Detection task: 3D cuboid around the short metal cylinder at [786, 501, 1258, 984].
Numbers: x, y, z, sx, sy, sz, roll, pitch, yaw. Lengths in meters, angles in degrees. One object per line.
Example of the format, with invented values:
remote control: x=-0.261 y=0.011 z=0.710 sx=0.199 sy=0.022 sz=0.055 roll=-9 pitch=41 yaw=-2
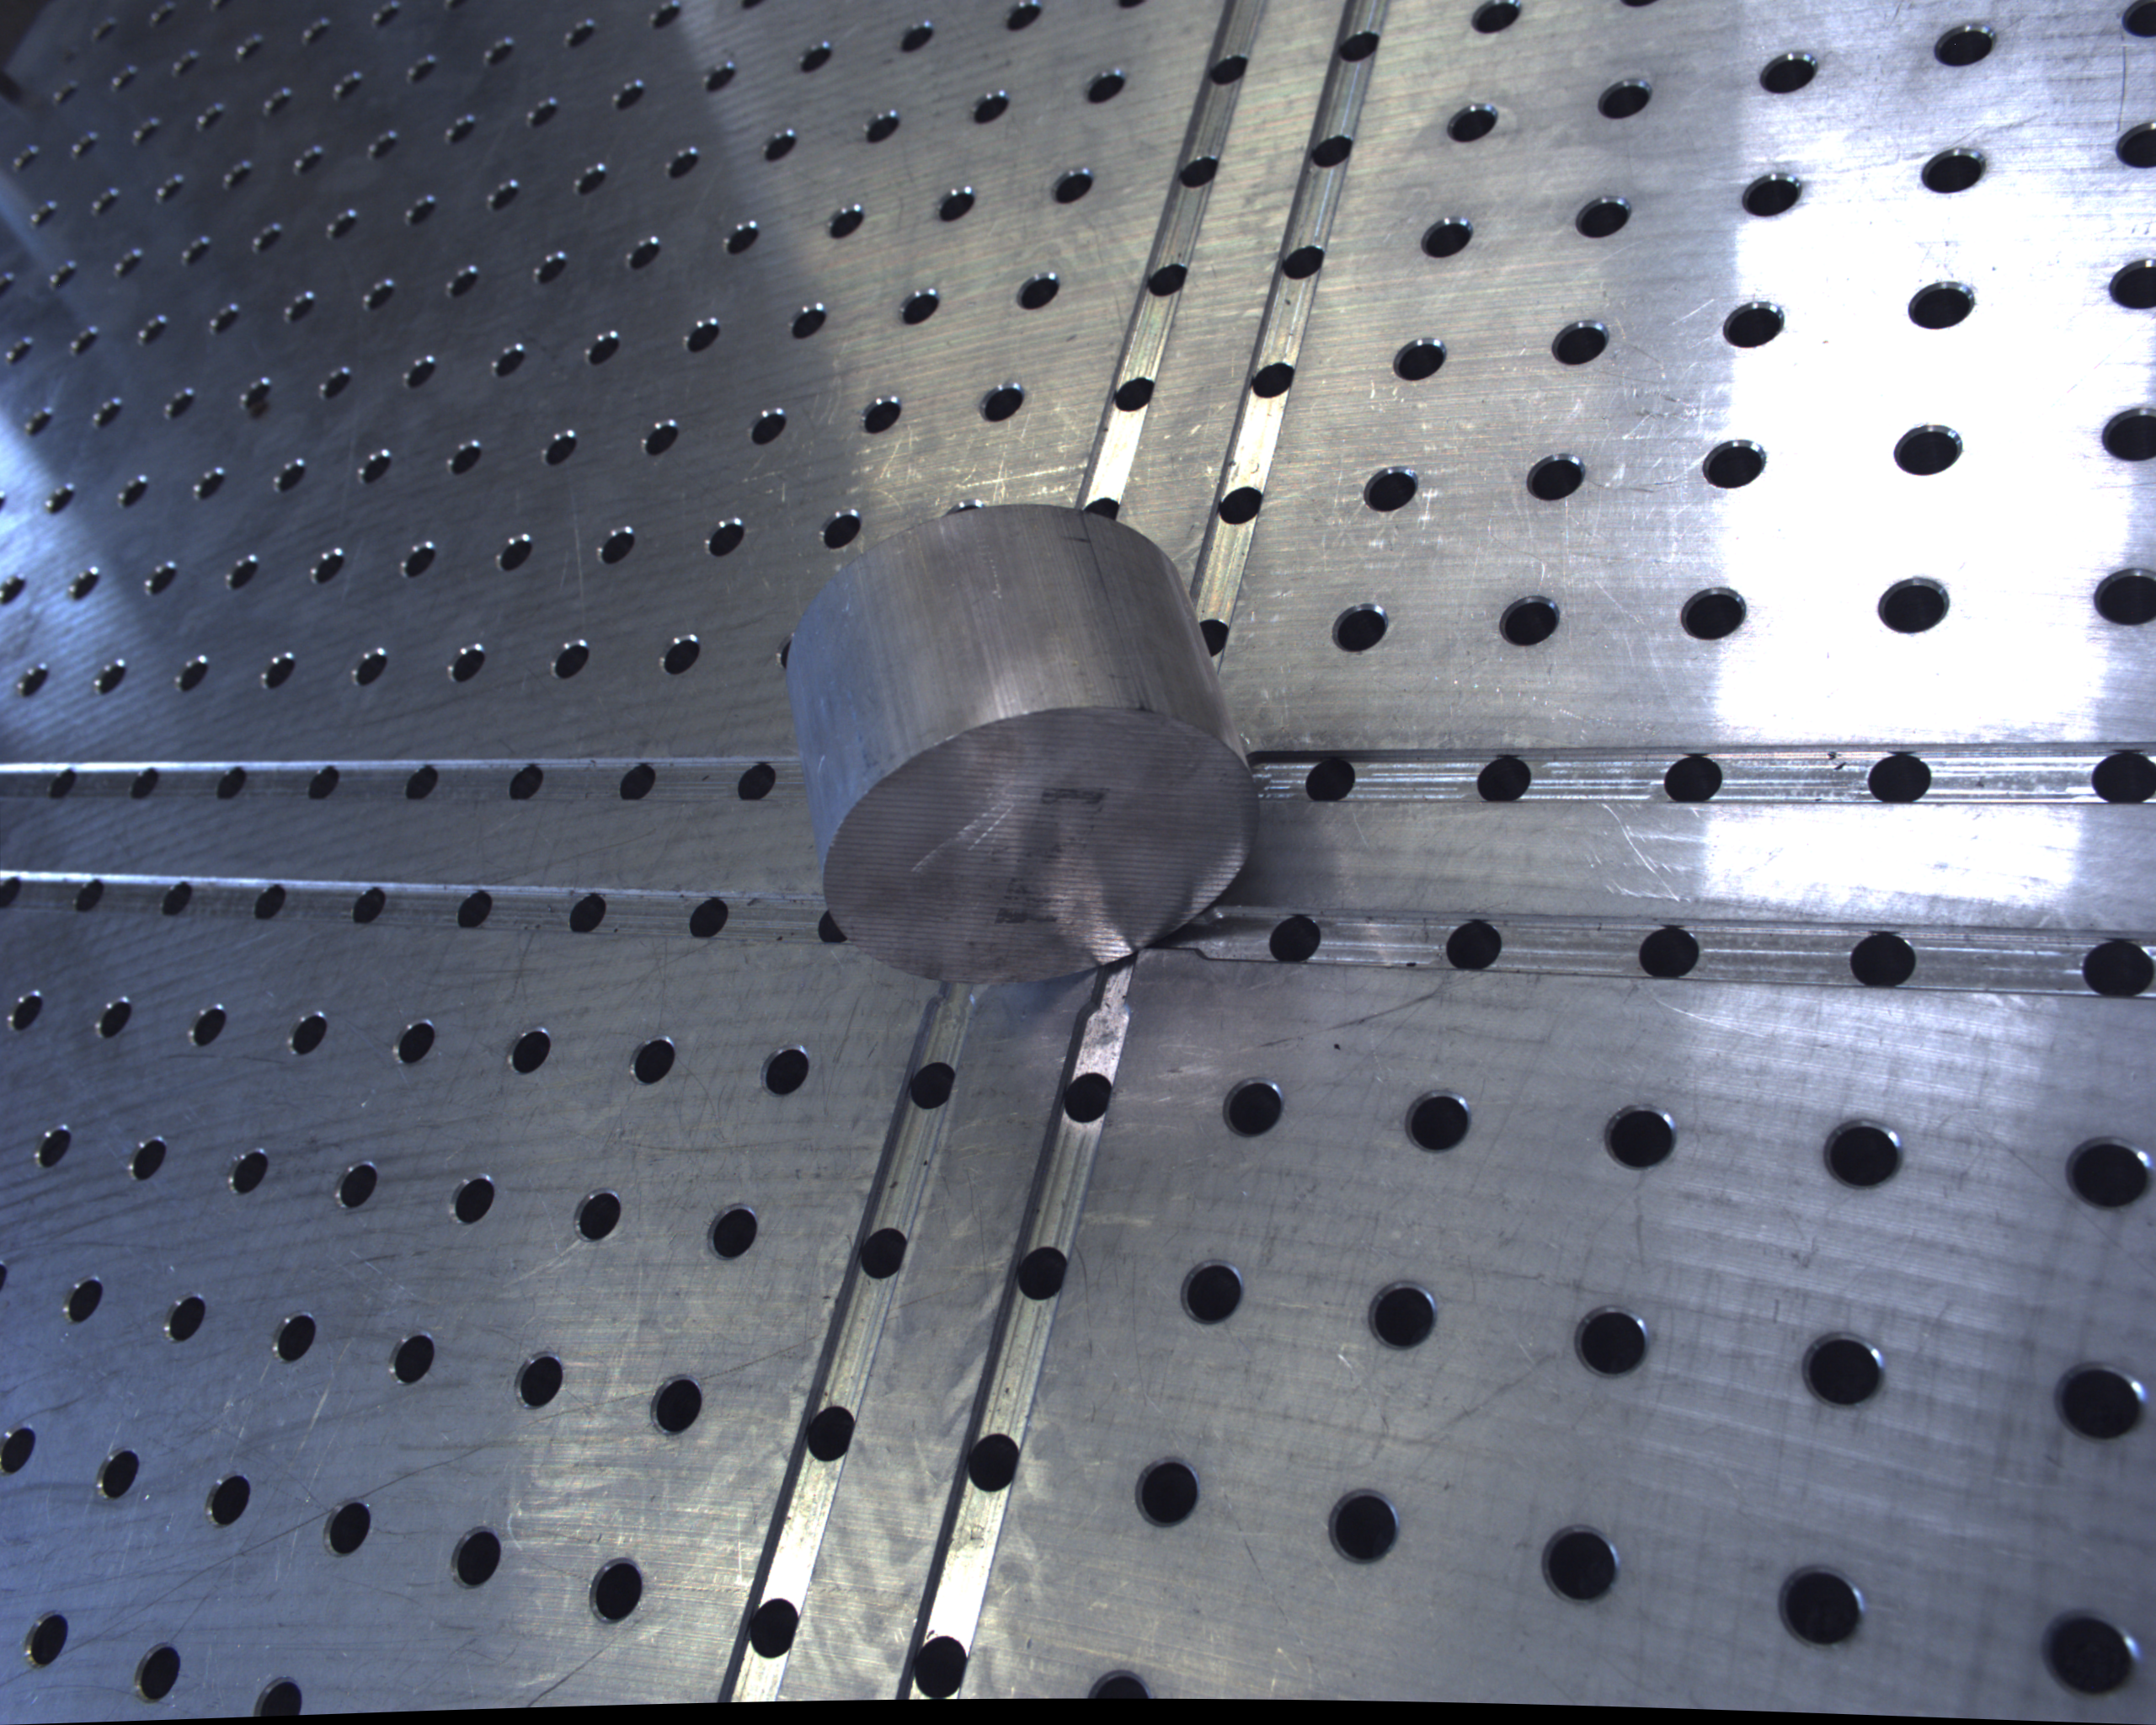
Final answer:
short metal cylinder: x=-0.012 y=-0.021 z=0.392 sx=0.080 sy=0.080 sz=0.050 roll=-25 pitch=52 yaw=13
